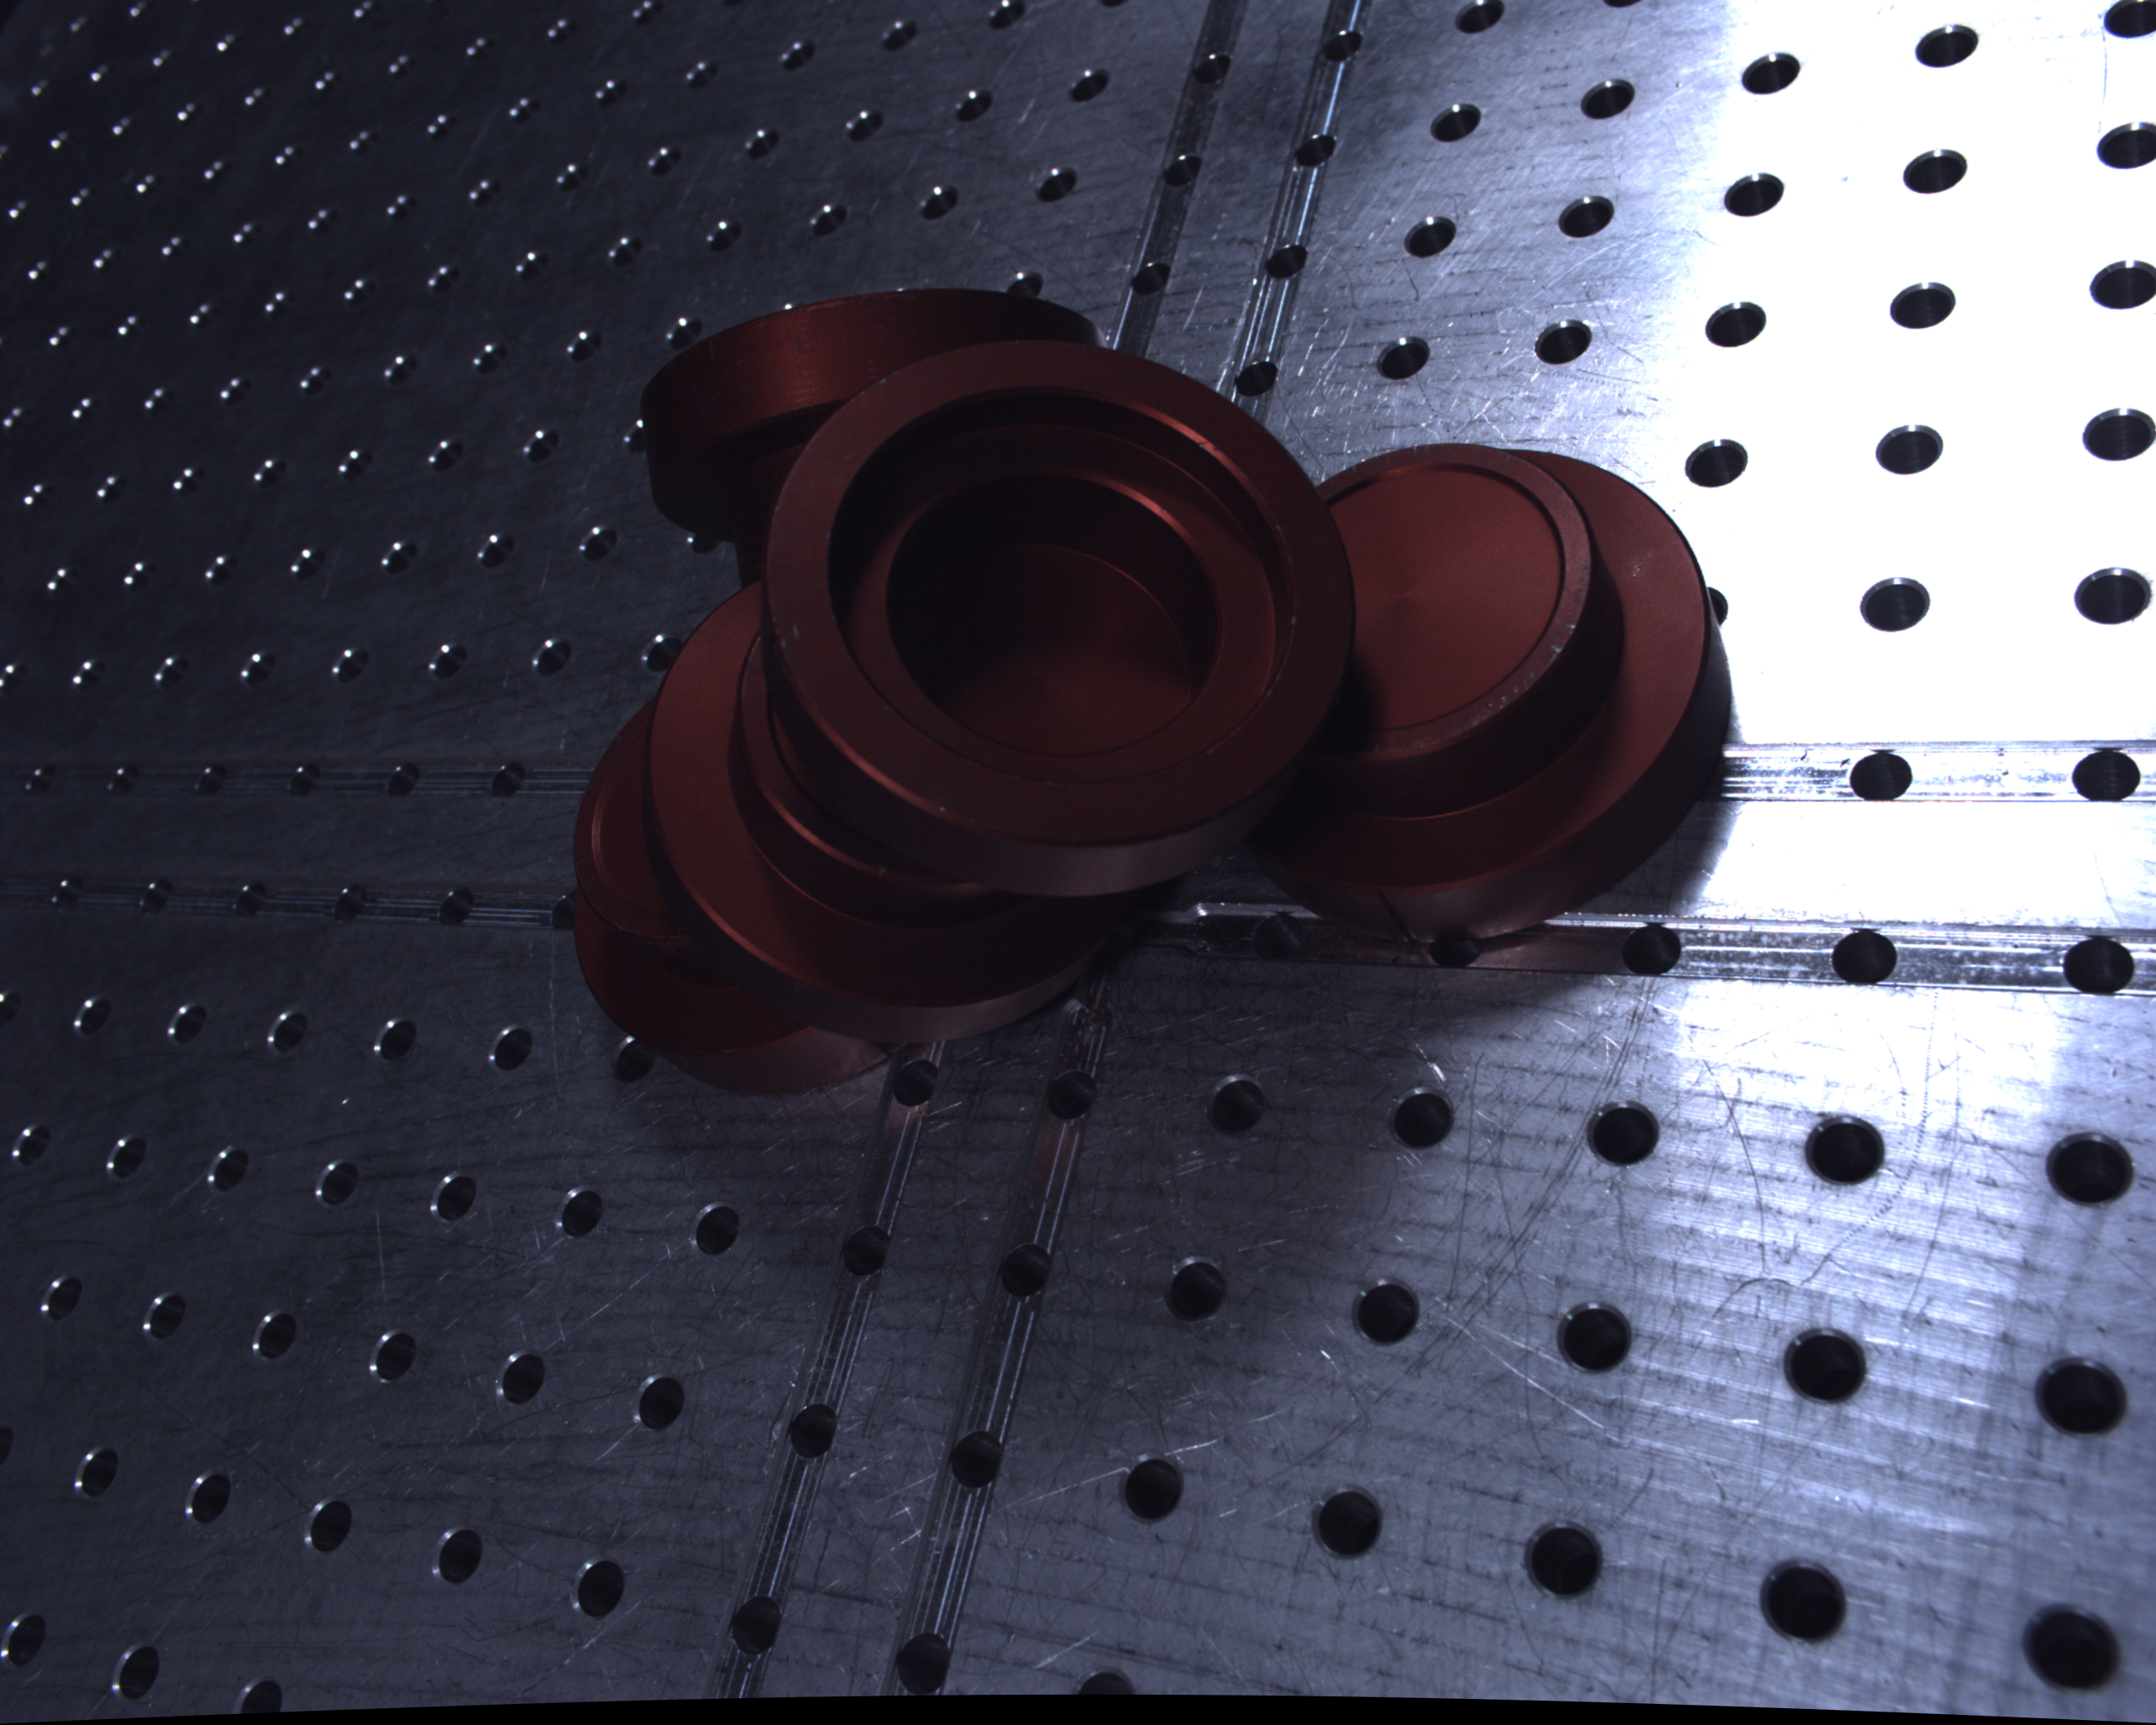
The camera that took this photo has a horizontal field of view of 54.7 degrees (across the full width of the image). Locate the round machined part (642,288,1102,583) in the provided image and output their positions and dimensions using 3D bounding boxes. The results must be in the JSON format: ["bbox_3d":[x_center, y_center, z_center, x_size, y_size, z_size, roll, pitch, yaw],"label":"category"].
[{"bbox_3d":[-0.039,-0.080,0.436,0.098,0.098,0.042,-12,83,21],"label":"round machined part"}]

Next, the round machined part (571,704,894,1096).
[{"bbox_3d":[-0.064,-0.005,0.432,0.098,0.042,0.098,-13,56,20],"label":"round machined part"}]

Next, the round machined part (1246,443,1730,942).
[{"bbox_3d":[0.066,-0.038,0.385,0.098,0.042,0.098,-13,56,20],"label":"round machined part"}]

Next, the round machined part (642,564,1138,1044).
[{"bbox_3d":[-0.032,-0.018,0.393,0.099,0.042,0.098,6,63,-11],"label":"round machined part"}]

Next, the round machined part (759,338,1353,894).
[{"bbox_3d":[-0.006,-0.039,0.361,0.099,0.042,0.098,4,65,-8],"label":"round machined part"}]
